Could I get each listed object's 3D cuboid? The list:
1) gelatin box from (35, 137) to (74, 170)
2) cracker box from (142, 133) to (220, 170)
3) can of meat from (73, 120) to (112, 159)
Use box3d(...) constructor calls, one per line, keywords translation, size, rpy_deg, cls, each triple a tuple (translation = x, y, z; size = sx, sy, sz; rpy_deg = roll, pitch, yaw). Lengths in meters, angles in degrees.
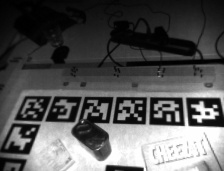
box3d(translation=(-0.164, 0.205, 0.619), size=(0.074, 0.030, 0.088), rpy_deg=(-36, 56, -23), cls="gelatin box")
box3d(translation=(0.175, 0.234, 0.511), size=(0.164, 0.072, 0.212), rpy_deg=(-12, 47, -2), cls="cracker box")
box3d(translation=(-0.051, 0.155, 0.615), size=(0.100, 0.084, 0.058), rpy_deg=(24, 58, 29), cls="can of meat")
